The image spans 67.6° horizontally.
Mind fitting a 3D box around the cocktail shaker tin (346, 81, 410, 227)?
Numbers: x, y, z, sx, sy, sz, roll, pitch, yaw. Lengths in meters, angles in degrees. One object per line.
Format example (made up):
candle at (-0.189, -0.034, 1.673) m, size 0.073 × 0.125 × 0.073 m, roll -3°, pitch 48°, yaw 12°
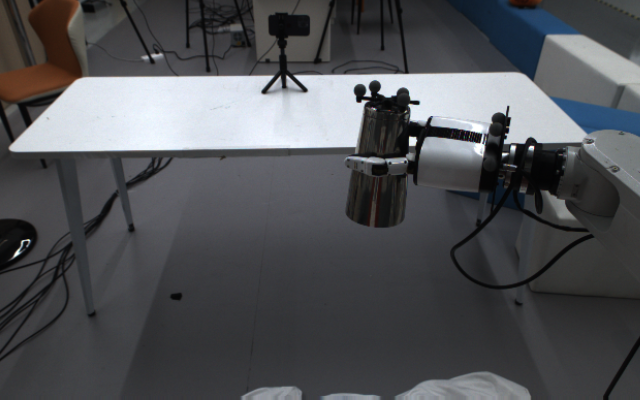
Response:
cocktail shaker tin at (0.090, -0.057, 0.716) m, size 0.093 × 0.170 × 0.093 m, roll 3°, pitch 26°, yaw -1°
